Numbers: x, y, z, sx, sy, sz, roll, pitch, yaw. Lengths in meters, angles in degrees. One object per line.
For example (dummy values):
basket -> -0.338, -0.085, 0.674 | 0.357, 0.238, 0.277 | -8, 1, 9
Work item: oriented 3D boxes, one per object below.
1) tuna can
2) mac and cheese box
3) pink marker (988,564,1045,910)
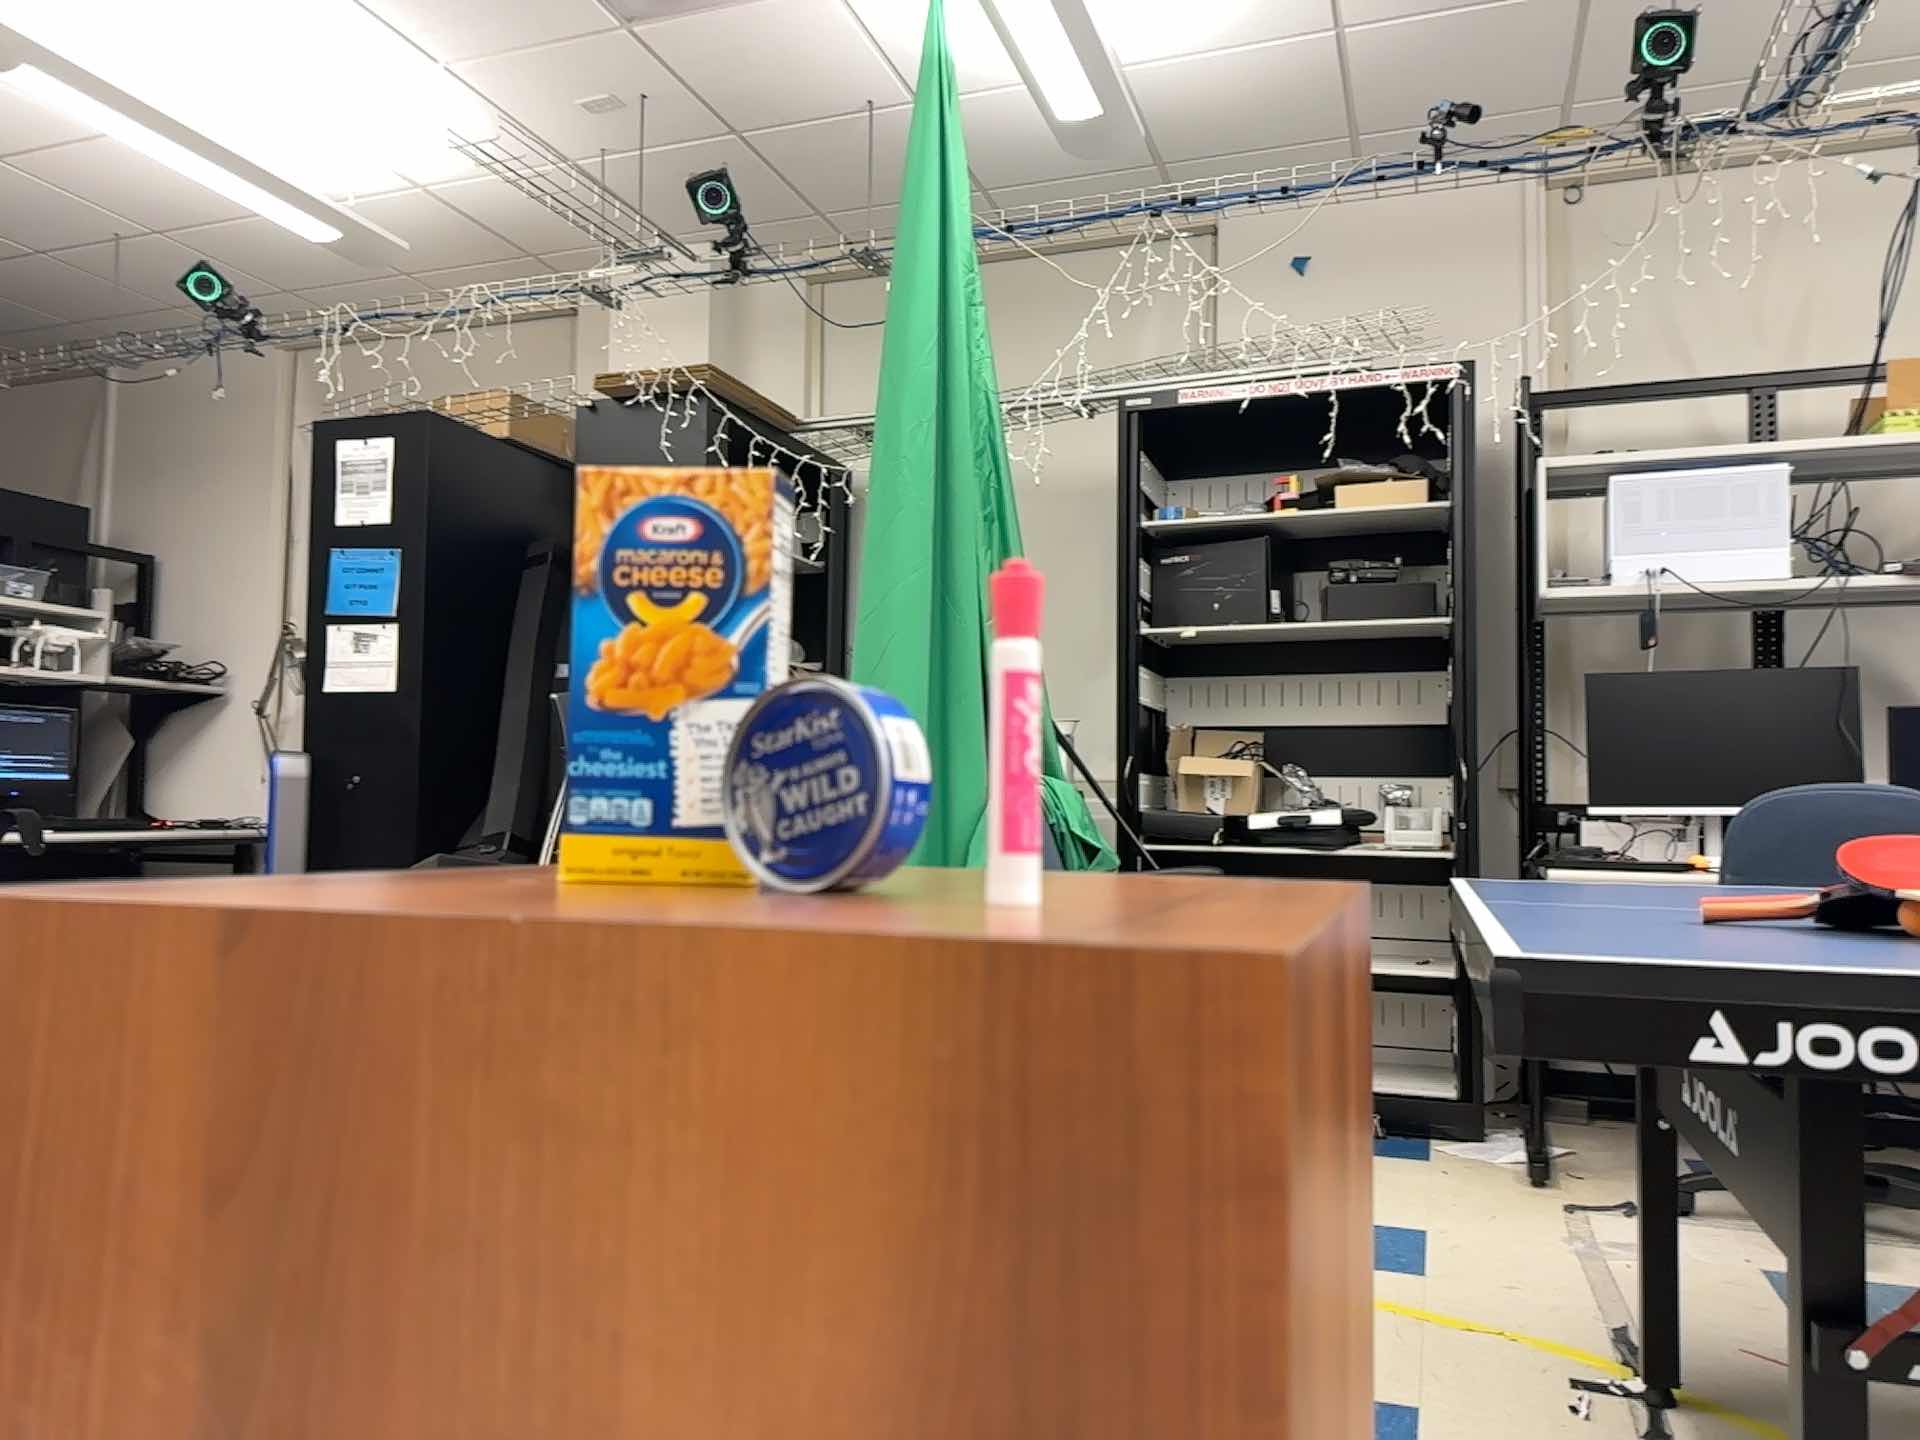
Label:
tuna can -> -0.054, 0.028, 0.546 | 0.083, 0.083, 0.034 | -2, -4, 37
mac and cheese box -> -0.128, -0.018, 0.603 | 0.088, 0.181, 0.035 | 0, -3, 11
pink marker -> 0.020, 0.005, 0.474 | 0.020, 0.121, 0.020 | 0, -3, 0
